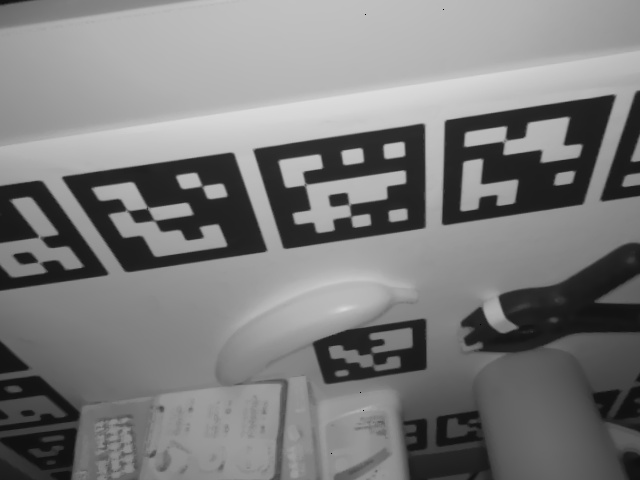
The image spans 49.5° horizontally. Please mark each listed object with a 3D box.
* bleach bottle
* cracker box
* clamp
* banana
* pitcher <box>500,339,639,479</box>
[{"bbox_3d":[0.056,0.242,0.629,0.103,0.252,0.067,-7,141,1],"label":"bleach bottle"},{"bbox_3d":[-0.107,0.194,0.589,0.214,0.165,0.071,-7,143,-2],"label":"cracker box"},{"bbox_3d":[0.205,0.031,0.564,0.164,0.037,0.122,-17,141,15],"label":"clamp"},{"bbox_3d":[-0.017,0.038,0.551,0.195,0.039,0.075,-31,135,26],"label":"banana"},{"bbox_3d":[0.240,0.208,0.586,0.187,0.244,0.133,-18,140,17],"label":"pitcher"}]
